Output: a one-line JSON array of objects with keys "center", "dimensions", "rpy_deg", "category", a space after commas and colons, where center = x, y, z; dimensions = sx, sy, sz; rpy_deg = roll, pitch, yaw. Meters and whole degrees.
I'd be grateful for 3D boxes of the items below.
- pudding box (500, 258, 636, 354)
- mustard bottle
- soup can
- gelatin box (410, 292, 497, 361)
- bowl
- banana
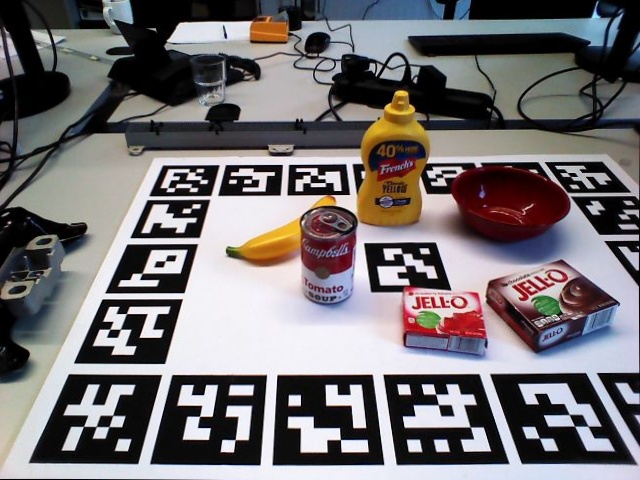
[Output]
[{"center": [0.283, 0.074, 0.599], "dimensions": [0.113, 0.039, 0.090], "rpy_deg": [-15, 45, -18], "category": "pudding box"}, {"center": [0.119, -0.119, 0.712], "dimensions": [0.096, 0.192, 0.058], "rpy_deg": [0, 35, 0], "category": "mustard bottle"}, {"center": [0.014, 0.011, 0.620], "dimensions": [0.068, 0.102, 0.067], "rpy_deg": [1, 36, -1], "category": "soup can"}, {"center": [0.147, 0.095, 0.581], "dimensions": [0.089, 0.030, 0.073], "rpy_deg": [3, 40, 6], "category": "gelatin box"}, {"center": [0.290, -0.043, 0.746], "dimensions": [0.162, 0.055, 0.161], "rpy_deg": [-2, 36, 1], "category": "bowl"}, {"center": [-0.028, -0.023, 0.734], "dimensions": [0.074, 0.039, 0.196], "rpy_deg": [20, 40, 40], "category": "banana"}]
